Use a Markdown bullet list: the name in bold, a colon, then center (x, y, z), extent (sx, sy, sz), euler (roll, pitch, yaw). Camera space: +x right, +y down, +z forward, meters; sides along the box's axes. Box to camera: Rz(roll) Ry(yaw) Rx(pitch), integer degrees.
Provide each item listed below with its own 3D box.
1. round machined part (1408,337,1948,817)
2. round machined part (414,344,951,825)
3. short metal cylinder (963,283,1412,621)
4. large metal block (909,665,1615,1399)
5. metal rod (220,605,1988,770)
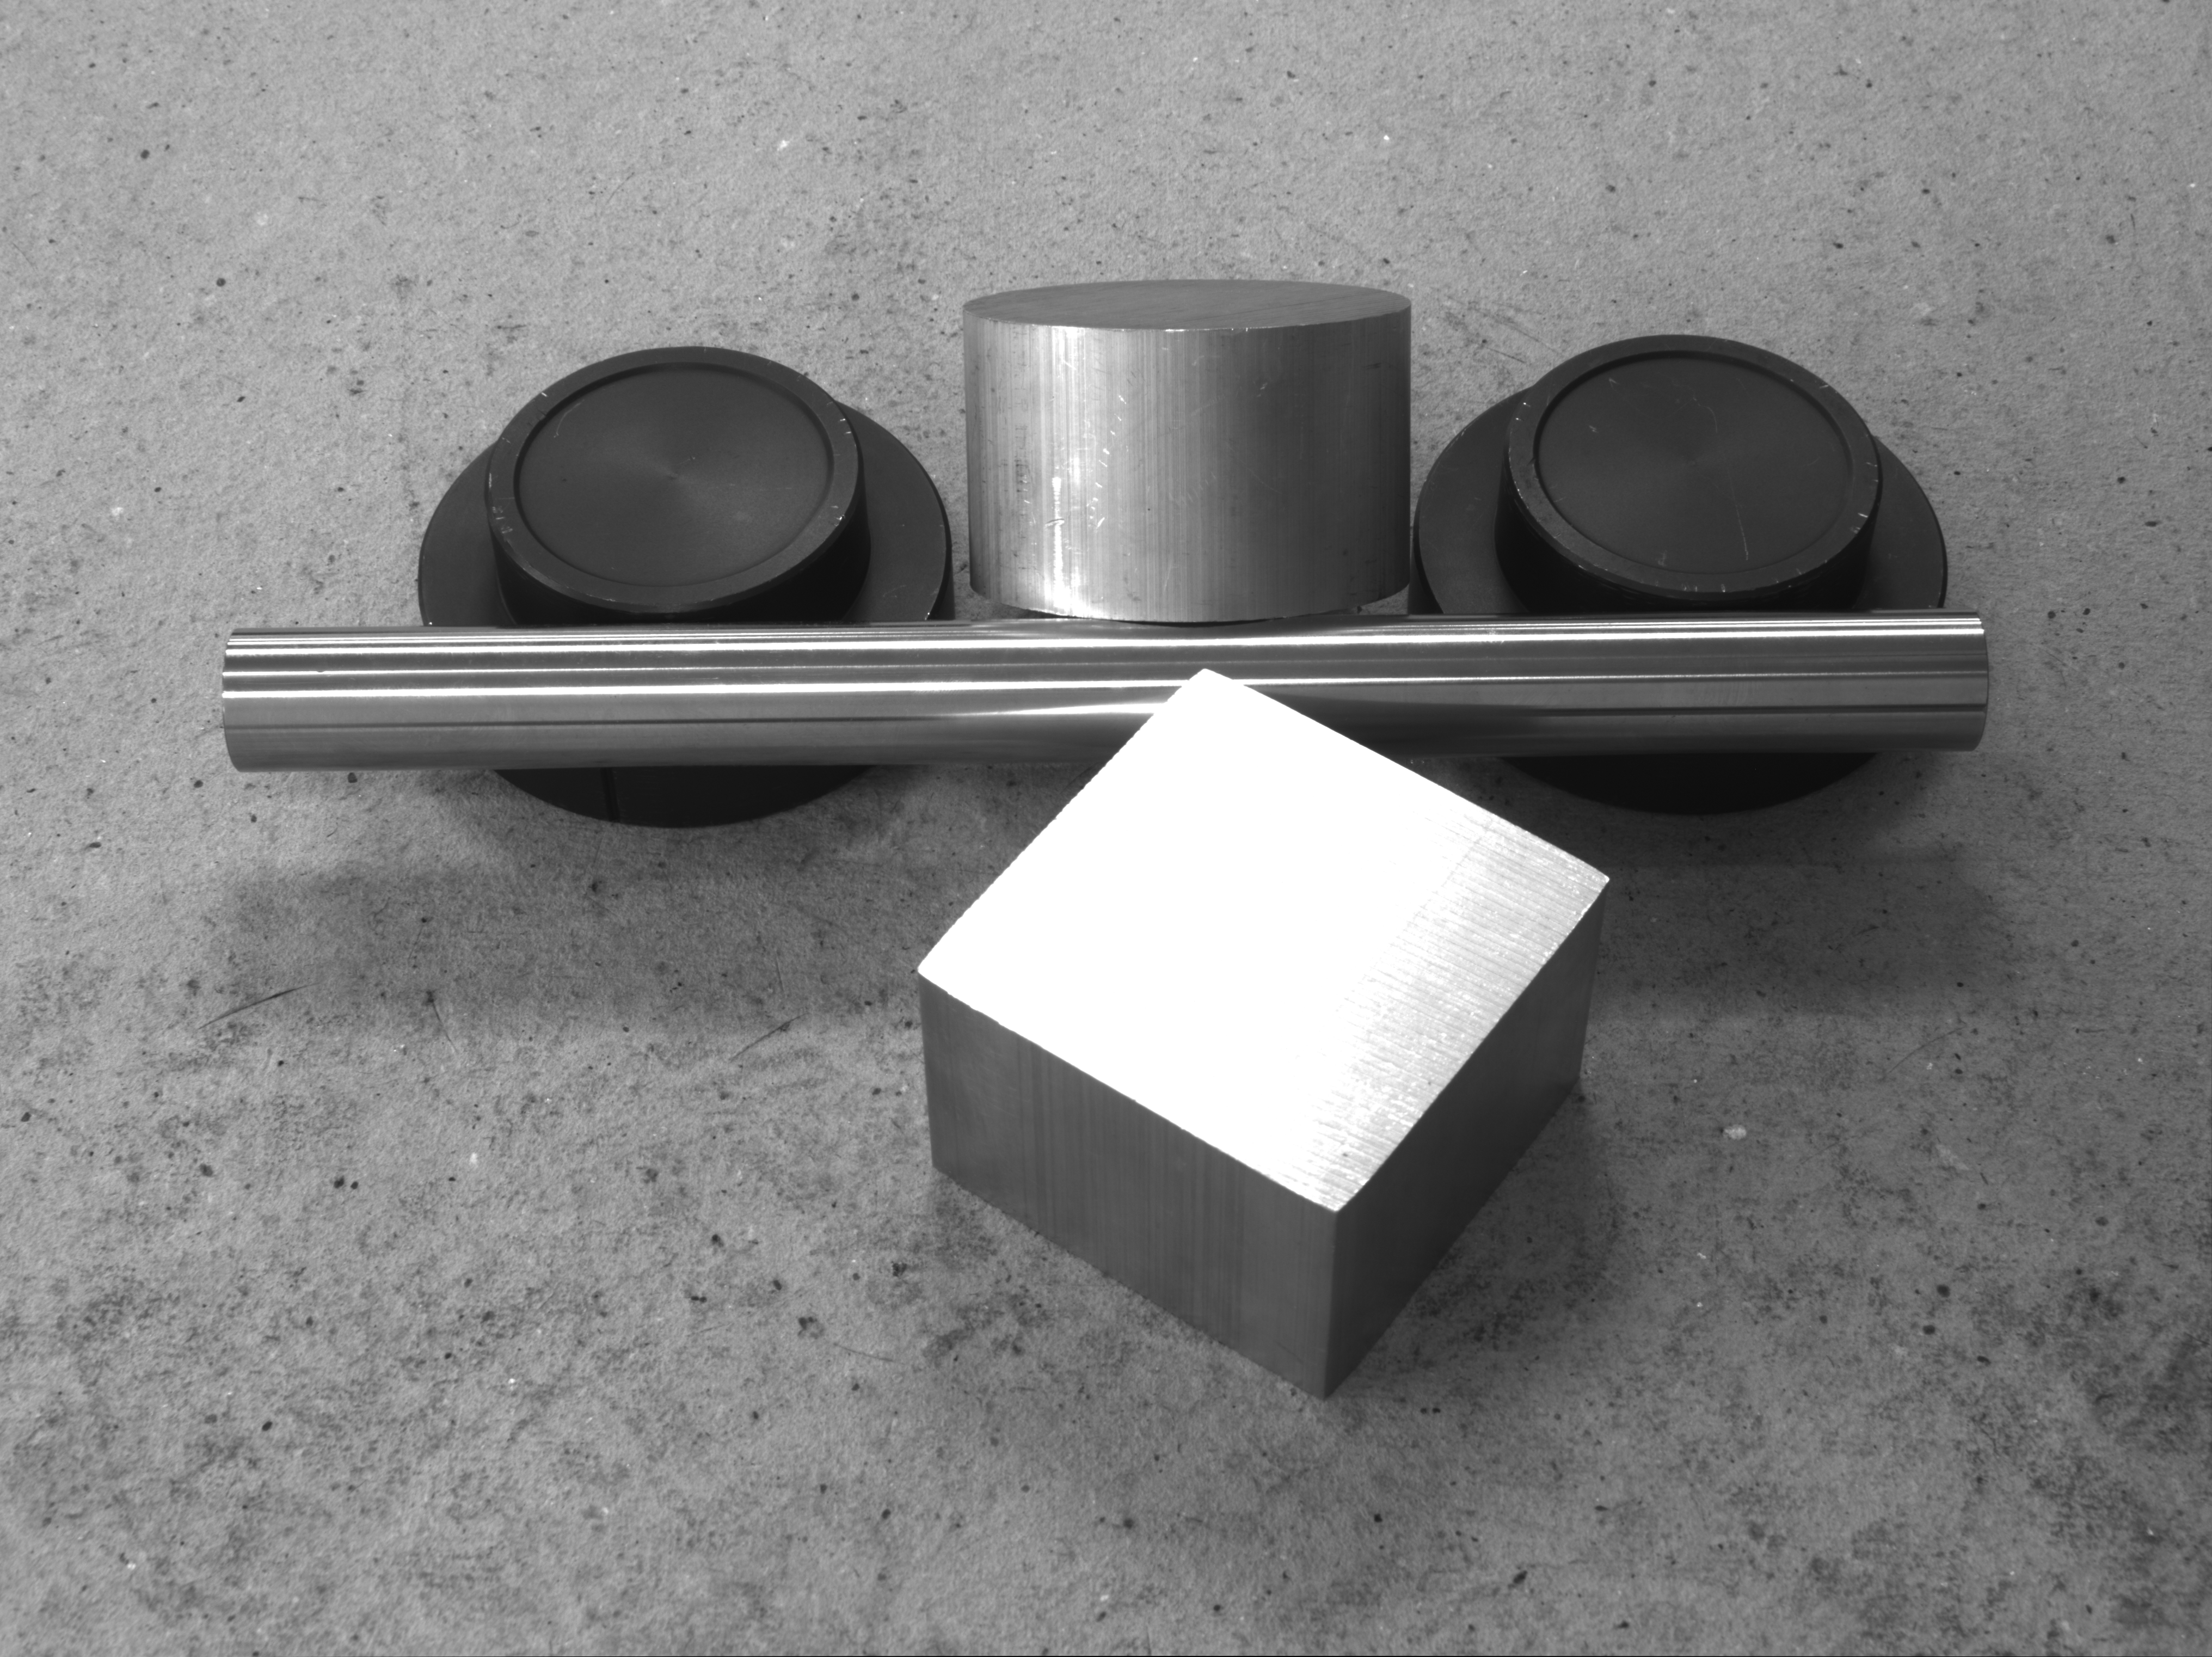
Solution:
- **round machined part**: center (0.106, -0.052, 0.676), extent (0.098, 0.042, 0.098), euler (0, 50, 0)
- **round machined part**: center (-0.078, -0.051, 0.674), extent (0.098, 0.042, 0.098), euler (0, 50, 0)
- **short metal cylinder**: center (0.015, -0.070, 0.661), extent (0.080, 0.050, 0.080), euler (0, 14, 0)
- **large metal block**: center (0.025, 0.031, 0.597), extent (0.080, 0.050, 0.080), euler (28, 56, 22)
- **metal rod**: center (0.000, -0.024, 0.636), extent (0.300, 0.025, 0.025), euler (-1, 50, -1)
